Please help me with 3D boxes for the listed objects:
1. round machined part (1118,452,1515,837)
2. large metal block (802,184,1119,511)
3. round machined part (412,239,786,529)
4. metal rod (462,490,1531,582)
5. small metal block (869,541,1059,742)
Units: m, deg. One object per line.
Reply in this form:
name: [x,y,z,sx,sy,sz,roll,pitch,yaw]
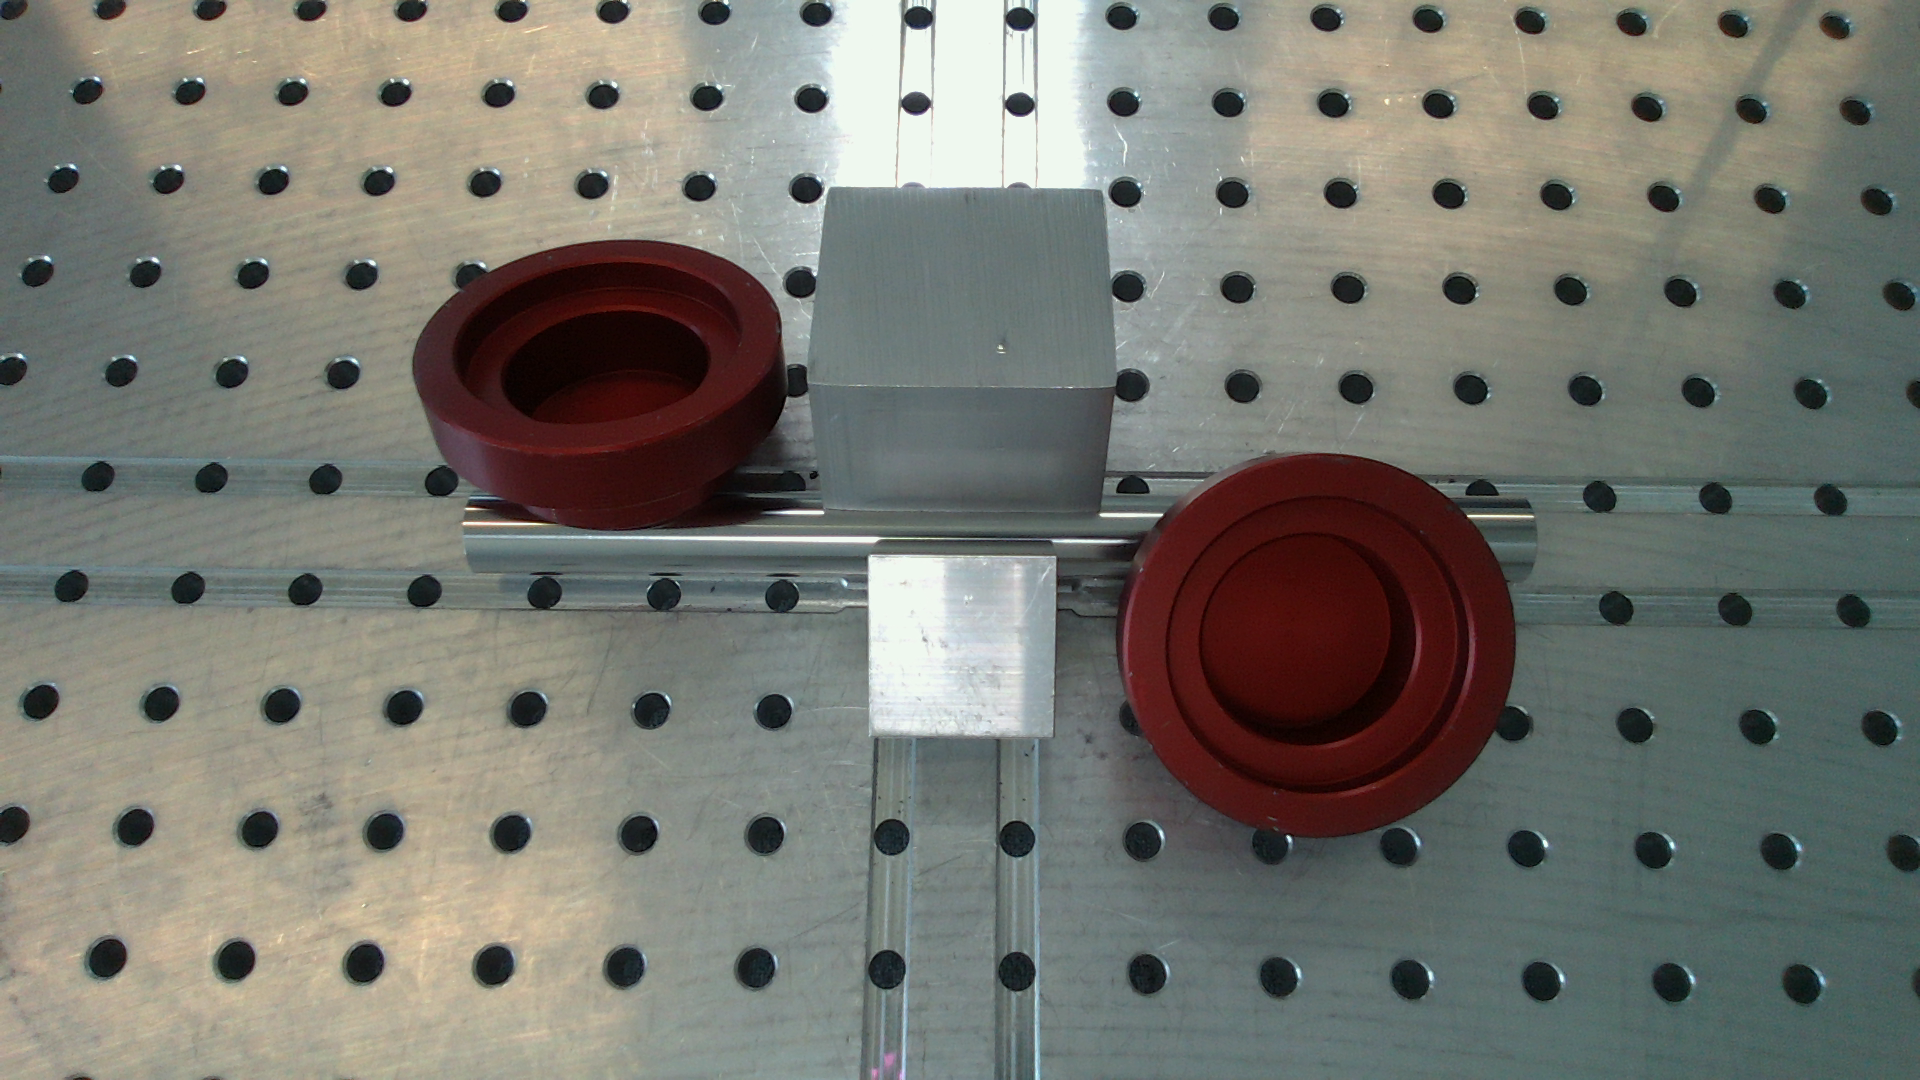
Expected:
round machined part: [0.091,0.025,0.366,0.098,0.042,0.098,0,95,0]
large metal block: [0.001,-0.055,0.392,0.080,0.050,0.080,1,52,0]
round machined part: [-0.098,-0.041,0.389,0.098,0.042,0.098,0,44,0]
metal rod: [0.010,-0.001,0.398,0.300,0.025,0.025,0,70,0]
small metal block: [0.001,0.027,0.377,0.050,0.025,0.050,1,99,0]
